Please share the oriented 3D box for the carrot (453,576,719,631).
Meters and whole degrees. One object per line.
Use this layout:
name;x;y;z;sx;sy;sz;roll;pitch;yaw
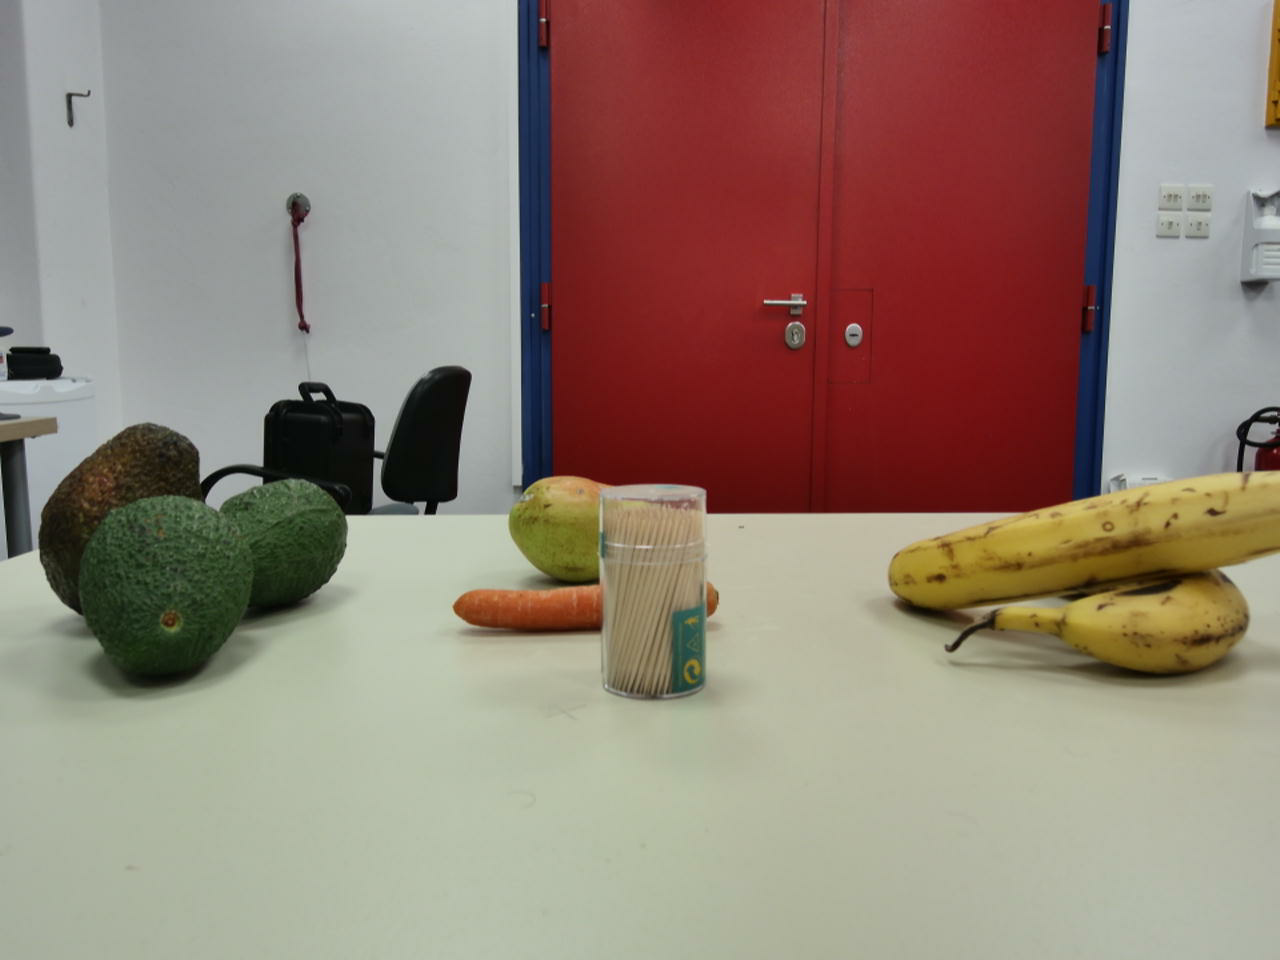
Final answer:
carrot;-0.024;0.057;0.462;0.122;0.023;0.024;0;4;-4
